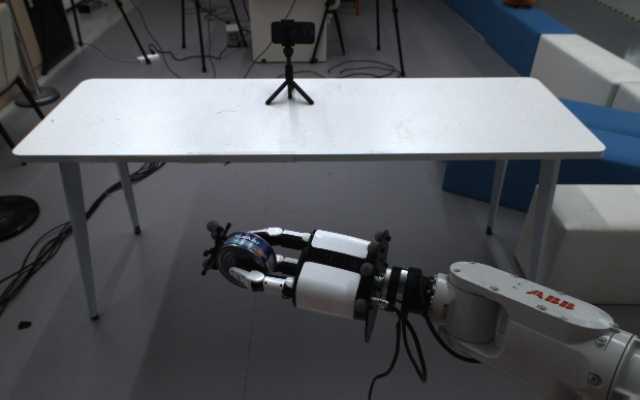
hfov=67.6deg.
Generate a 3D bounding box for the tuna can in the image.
[{"bbox_3d":[-0.108,0.088,0.715,0.085,0.085,0.034,11,35,13],"label":"tuna can"}]
